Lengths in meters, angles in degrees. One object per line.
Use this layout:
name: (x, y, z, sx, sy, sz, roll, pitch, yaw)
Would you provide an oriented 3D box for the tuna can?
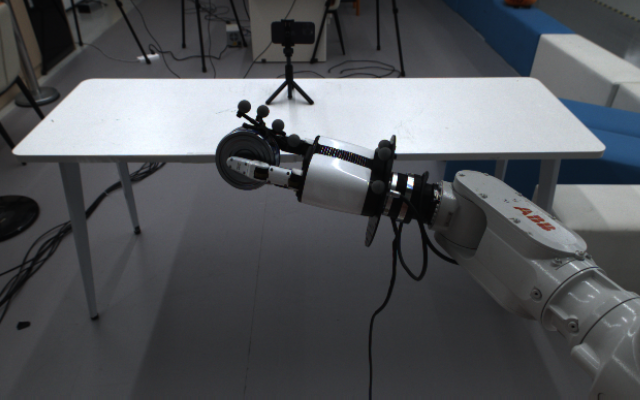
tuna can: (-0.097, -0.052, 0.667, 0.085, 0.085, 0.034, 6, 19, 6)
